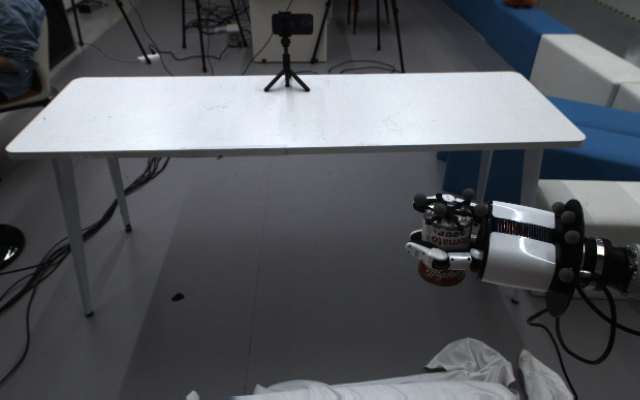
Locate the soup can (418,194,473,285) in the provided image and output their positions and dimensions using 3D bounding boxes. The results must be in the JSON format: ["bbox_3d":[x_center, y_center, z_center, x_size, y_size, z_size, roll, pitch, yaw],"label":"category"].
[{"bbox_3d":[0.178,0.061,0.683,0.067,0.101,0.067,-2,33,1],"label":"soup can"}]
